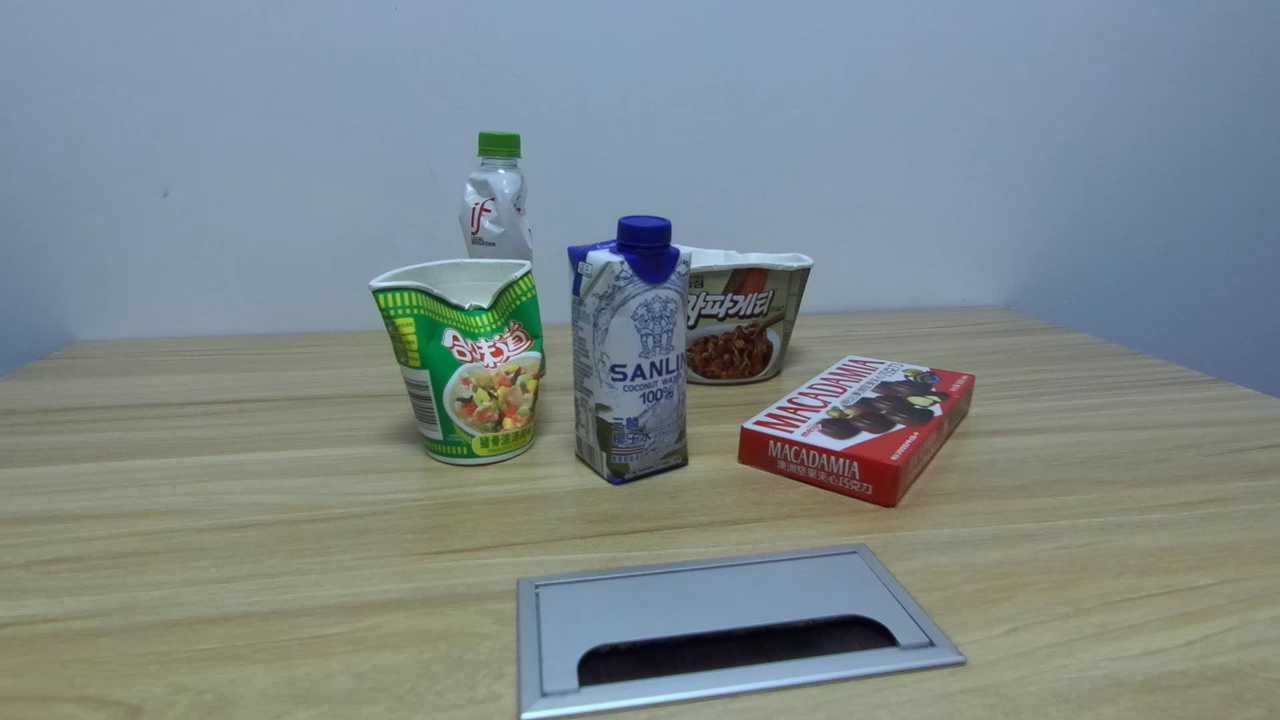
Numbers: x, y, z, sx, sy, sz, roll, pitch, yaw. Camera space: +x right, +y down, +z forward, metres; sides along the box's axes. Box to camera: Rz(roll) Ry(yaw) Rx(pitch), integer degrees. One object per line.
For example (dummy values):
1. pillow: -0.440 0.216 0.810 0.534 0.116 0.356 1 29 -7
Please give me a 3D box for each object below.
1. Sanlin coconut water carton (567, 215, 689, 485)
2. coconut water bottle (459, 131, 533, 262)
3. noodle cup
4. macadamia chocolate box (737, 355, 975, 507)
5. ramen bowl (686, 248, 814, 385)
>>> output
1. Sanlin coconut water carton: -0.005 -0.007 0.399 0.061 0.144 0.060 -11 19 -32
2. coconut water bottle: -0.107 -0.077 0.545 0.067 0.187 0.067 2 14 0
3. noodle cup: -0.101 -0.001 0.431 0.083 0.122 0.075 -10 11 -1
4. macadamia chocolate box: 0.147 0.036 0.456 0.095 0.027 0.178 12 21 35
5. ramen bowl: 0.074 -0.040 0.579 0.134 0.097 0.113 1 18 4
